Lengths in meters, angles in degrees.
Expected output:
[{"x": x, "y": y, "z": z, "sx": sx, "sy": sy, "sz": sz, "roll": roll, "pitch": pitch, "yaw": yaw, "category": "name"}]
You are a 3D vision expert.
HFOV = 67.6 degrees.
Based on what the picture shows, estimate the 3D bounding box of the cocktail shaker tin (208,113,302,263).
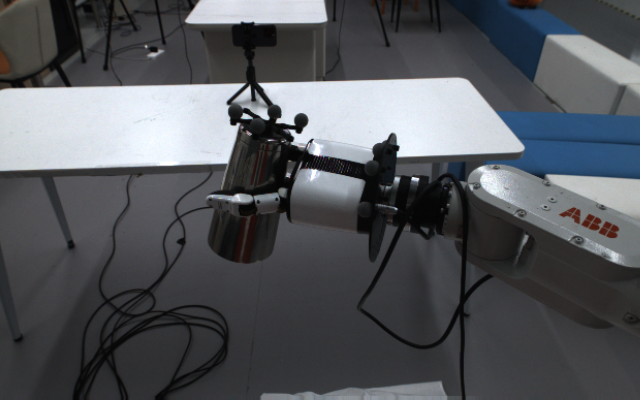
[{"x": -0.085, "y": -0.014, "z": 0.625, "sx": 0.093, "sy": 0.170, "sz": 0.093, "roll": 12, "pitch": 29, "yaw": -7, "category": "cocktail shaker tin"}]
